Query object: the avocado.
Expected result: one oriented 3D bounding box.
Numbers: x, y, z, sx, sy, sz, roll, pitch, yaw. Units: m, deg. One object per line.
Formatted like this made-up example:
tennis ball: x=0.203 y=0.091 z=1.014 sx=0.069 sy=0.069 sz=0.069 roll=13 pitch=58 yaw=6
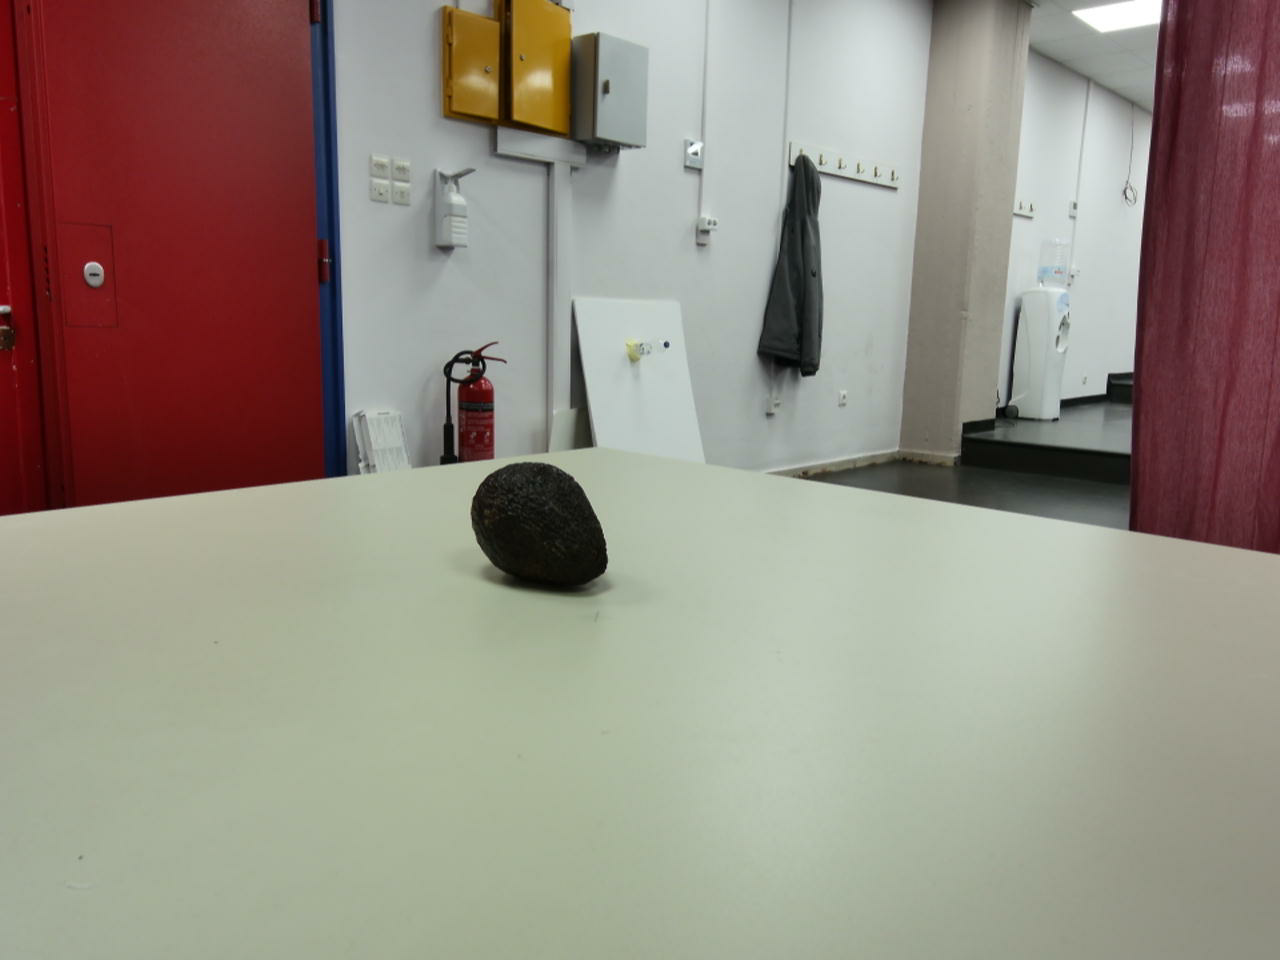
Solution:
avocado: x=-0.062 y=0.025 z=0.588 sx=0.070 sy=0.069 sz=0.090 roll=-2 pitch=8 yaw=-22
